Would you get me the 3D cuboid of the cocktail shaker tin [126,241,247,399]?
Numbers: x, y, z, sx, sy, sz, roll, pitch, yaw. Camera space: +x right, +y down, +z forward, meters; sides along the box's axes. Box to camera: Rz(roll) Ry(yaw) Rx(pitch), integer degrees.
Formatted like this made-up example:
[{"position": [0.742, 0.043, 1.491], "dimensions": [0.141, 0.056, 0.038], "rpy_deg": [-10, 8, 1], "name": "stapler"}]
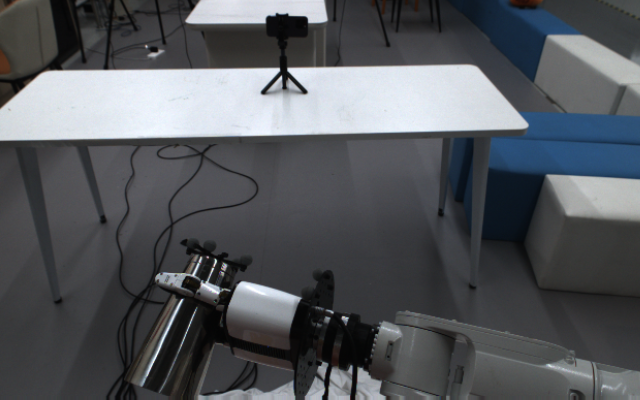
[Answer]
[{"position": [-0.167, 0.160, 0.625], "dimensions": [0.093, 0.093, 0.170], "rpy_deg": [12, 65, 14], "name": "cocktail shaker tin"}]
